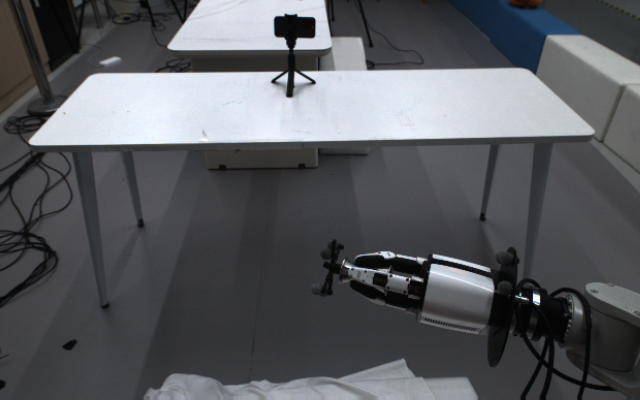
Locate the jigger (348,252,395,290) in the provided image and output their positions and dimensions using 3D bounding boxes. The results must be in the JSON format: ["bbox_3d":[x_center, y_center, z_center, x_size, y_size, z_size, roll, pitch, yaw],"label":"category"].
[{"bbox_3d":[0.072,0.104,0.689,0.071,0.043,0.043,10,35,16],"label":"jigger"}]
